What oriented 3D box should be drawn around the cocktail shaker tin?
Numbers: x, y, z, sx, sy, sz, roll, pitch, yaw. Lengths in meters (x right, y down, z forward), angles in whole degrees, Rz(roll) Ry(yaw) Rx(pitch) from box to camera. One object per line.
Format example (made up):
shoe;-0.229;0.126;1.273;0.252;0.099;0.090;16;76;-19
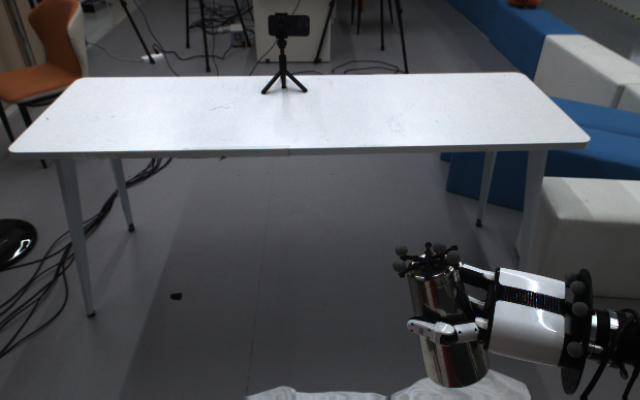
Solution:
cocktail shaker tin;0.172;0.161;0.670;0.093;0.170;0.093;-17;20;6
